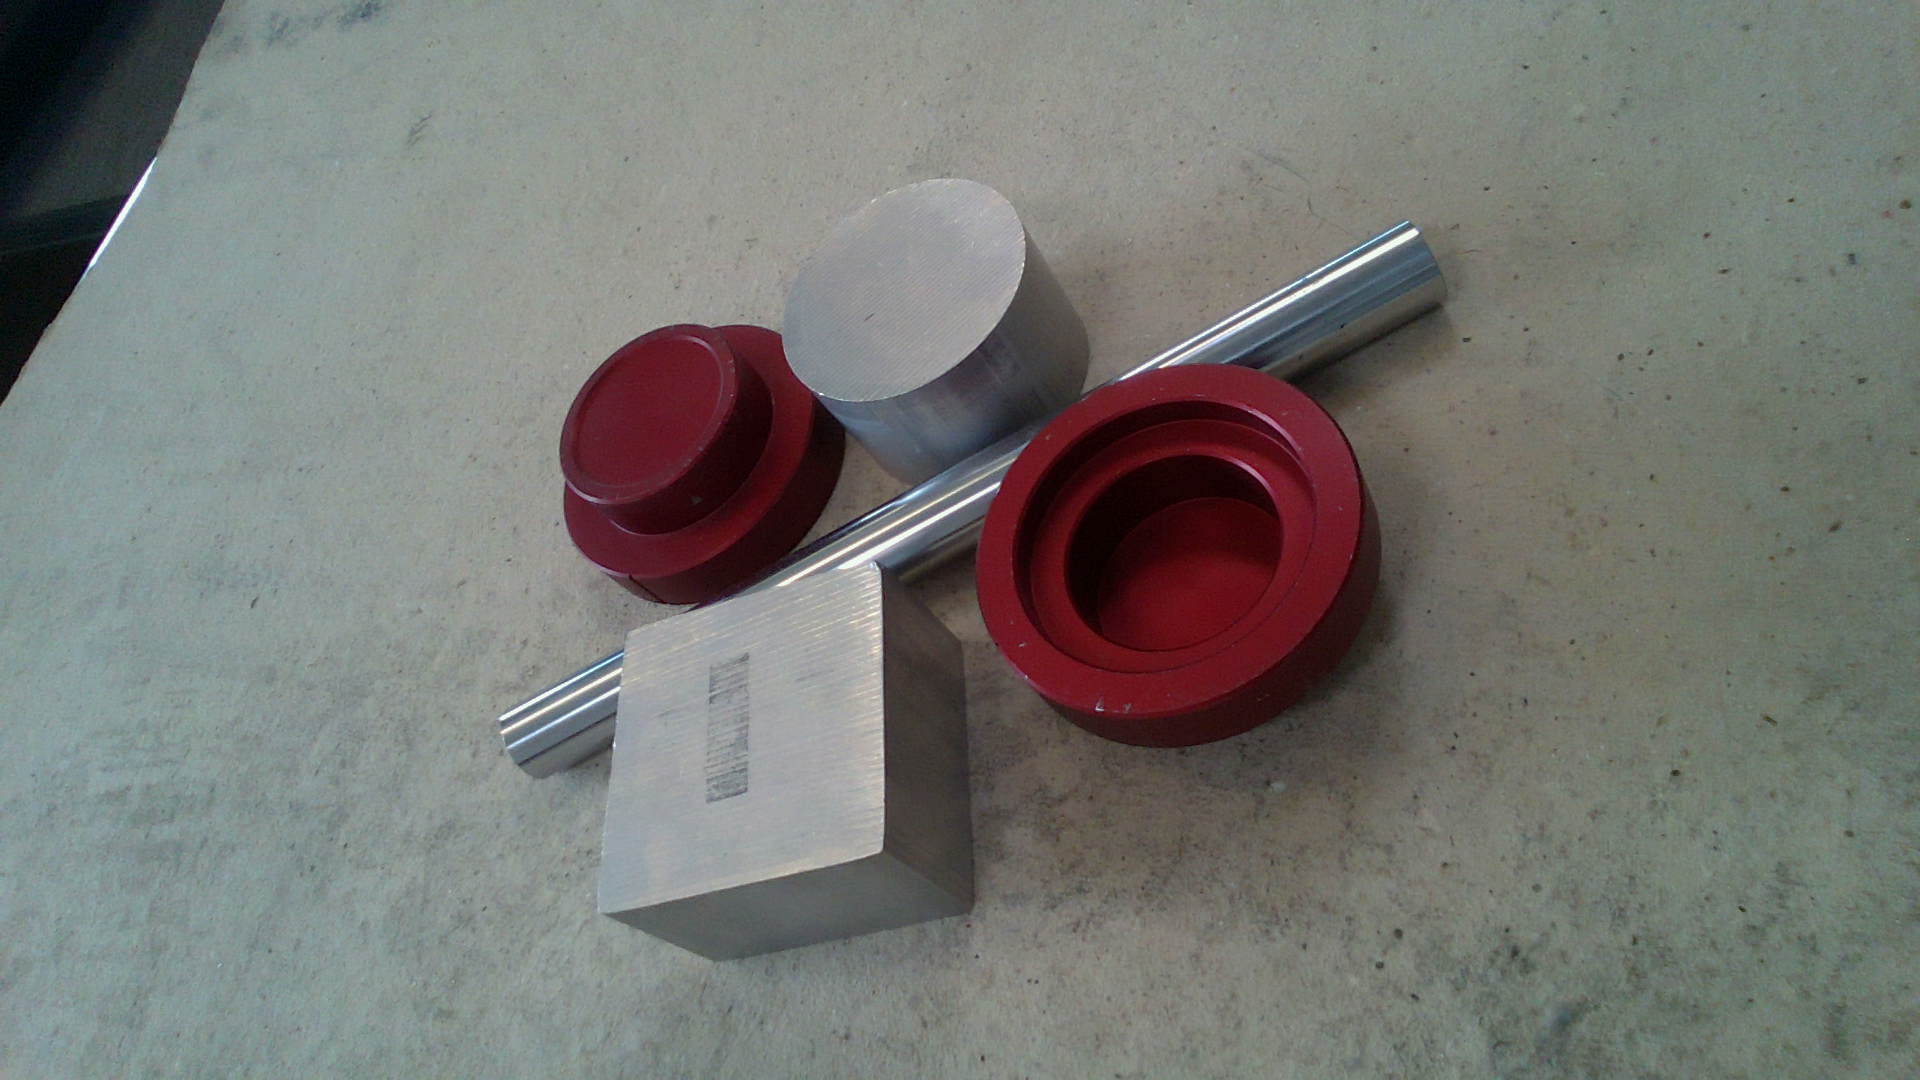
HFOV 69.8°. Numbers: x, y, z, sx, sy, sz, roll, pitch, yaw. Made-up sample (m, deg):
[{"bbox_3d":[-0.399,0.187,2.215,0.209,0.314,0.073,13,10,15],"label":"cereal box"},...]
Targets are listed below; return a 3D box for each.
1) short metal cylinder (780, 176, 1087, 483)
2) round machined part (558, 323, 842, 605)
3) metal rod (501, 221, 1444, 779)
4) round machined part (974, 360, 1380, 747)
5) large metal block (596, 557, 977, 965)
[{"bbox_3d":[-0.007,-0.063,0.420,0.080,0.050,0.080,-13,56,21],"label":"short metal cylinder"},{"bbox_3d":[-0.091,-0.031,0.451,0.098,0.042,0.098,-13,56,21],"label":"round machined part"},{"bbox_3d":[-0.004,-0.006,0.401,0.300,0.025,0.025,-28,52,10],"label":"metal rod"},{"bbox_3d":[0.056,0.007,0.348,0.098,0.042,0.098,-13,56,21],"label":"round machined part"},{"bbox_3d":[-0.044,0.060,0.365,0.080,0.050,0.080,-16,55,19],"label":"large metal block"}]
